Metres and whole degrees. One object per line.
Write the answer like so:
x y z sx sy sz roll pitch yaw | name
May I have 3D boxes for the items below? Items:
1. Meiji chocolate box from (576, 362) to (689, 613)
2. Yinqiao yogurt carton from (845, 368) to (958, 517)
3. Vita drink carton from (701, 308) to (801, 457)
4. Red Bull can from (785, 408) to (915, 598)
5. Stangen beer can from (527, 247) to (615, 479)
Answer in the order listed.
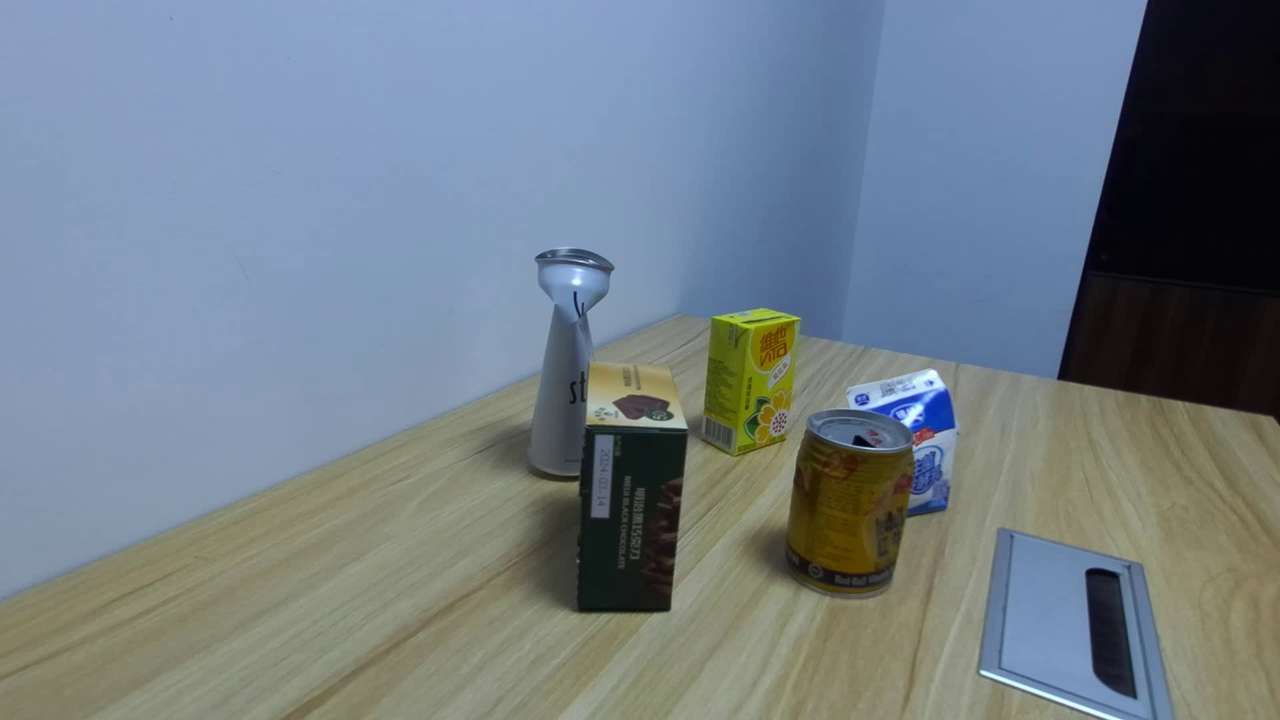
-0.008 0.068 0.410 0.056 0.109 0.110 2 18 -4 | Meiji chocolate box
0.180 0.053 0.509 0.083 0.093 0.077 -4 20 -20 | Yinqiao yogurt carton
0.091 0.016 0.583 0.067 0.109 0.043 -11 22 -38 | Vita drink carton
0.121 0.081 0.412 0.069 0.092 0.069 2 18 0 | Red Bull can
-0.050 0.003 0.522 0.066 0.162 0.076 -14 26 -38 | Stangen beer can
